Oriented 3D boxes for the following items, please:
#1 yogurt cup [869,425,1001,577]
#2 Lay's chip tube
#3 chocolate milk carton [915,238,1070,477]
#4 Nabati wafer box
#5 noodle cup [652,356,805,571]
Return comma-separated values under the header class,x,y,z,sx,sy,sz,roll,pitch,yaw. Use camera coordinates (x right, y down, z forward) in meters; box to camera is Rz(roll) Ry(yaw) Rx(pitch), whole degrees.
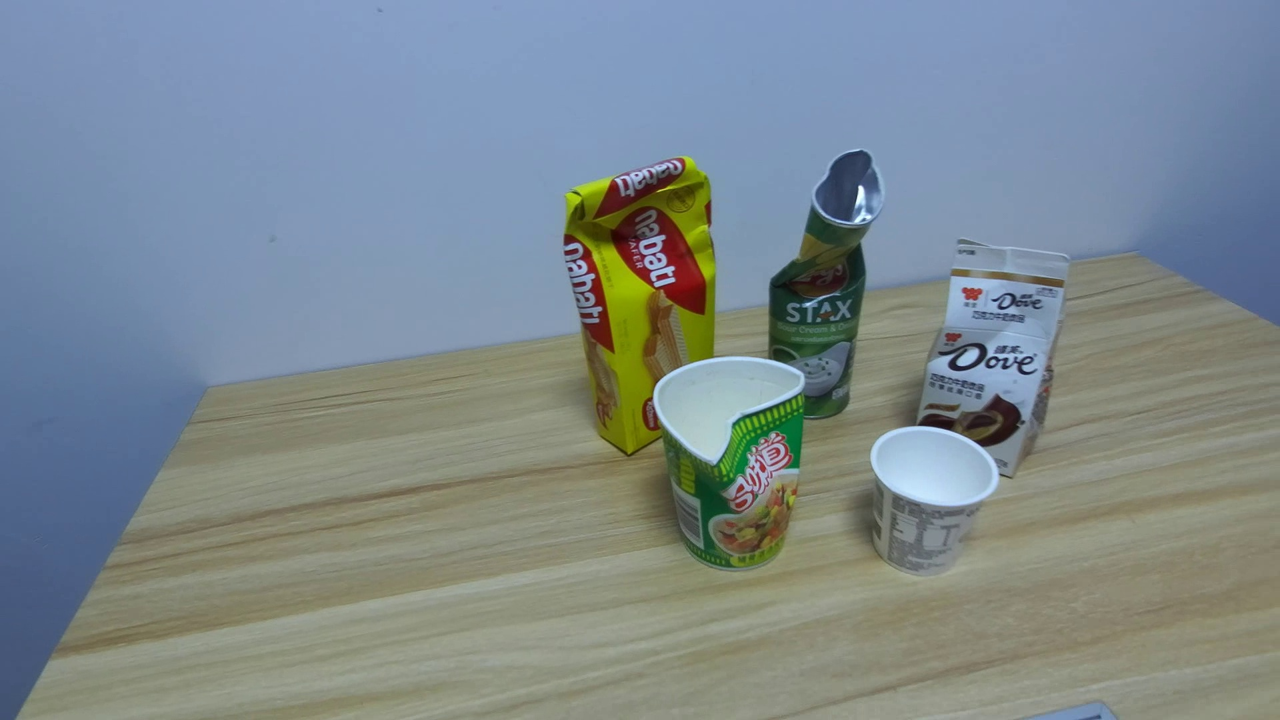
class,x,y,z,sx,sy,sz,roll,pitch,yaw
yogurt cup,0.173,0.089,0.430,0.072,0.068,0.072,-3,33,2
Lay's chip tube,0.138,-0.046,0.526,0.079,0.199,0.070,-21,43,-21
chocolate milk carton,0.249,-0.006,0.491,0.084,0.155,0.073,19,40,30
Nabati wafer box,0.007,-0.035,0.514,0.113,0.205,0.042,-27,37,-29
noodle cup,0.058,0.065,0.439,0.094,0.109,0.086,-18,36,-20
